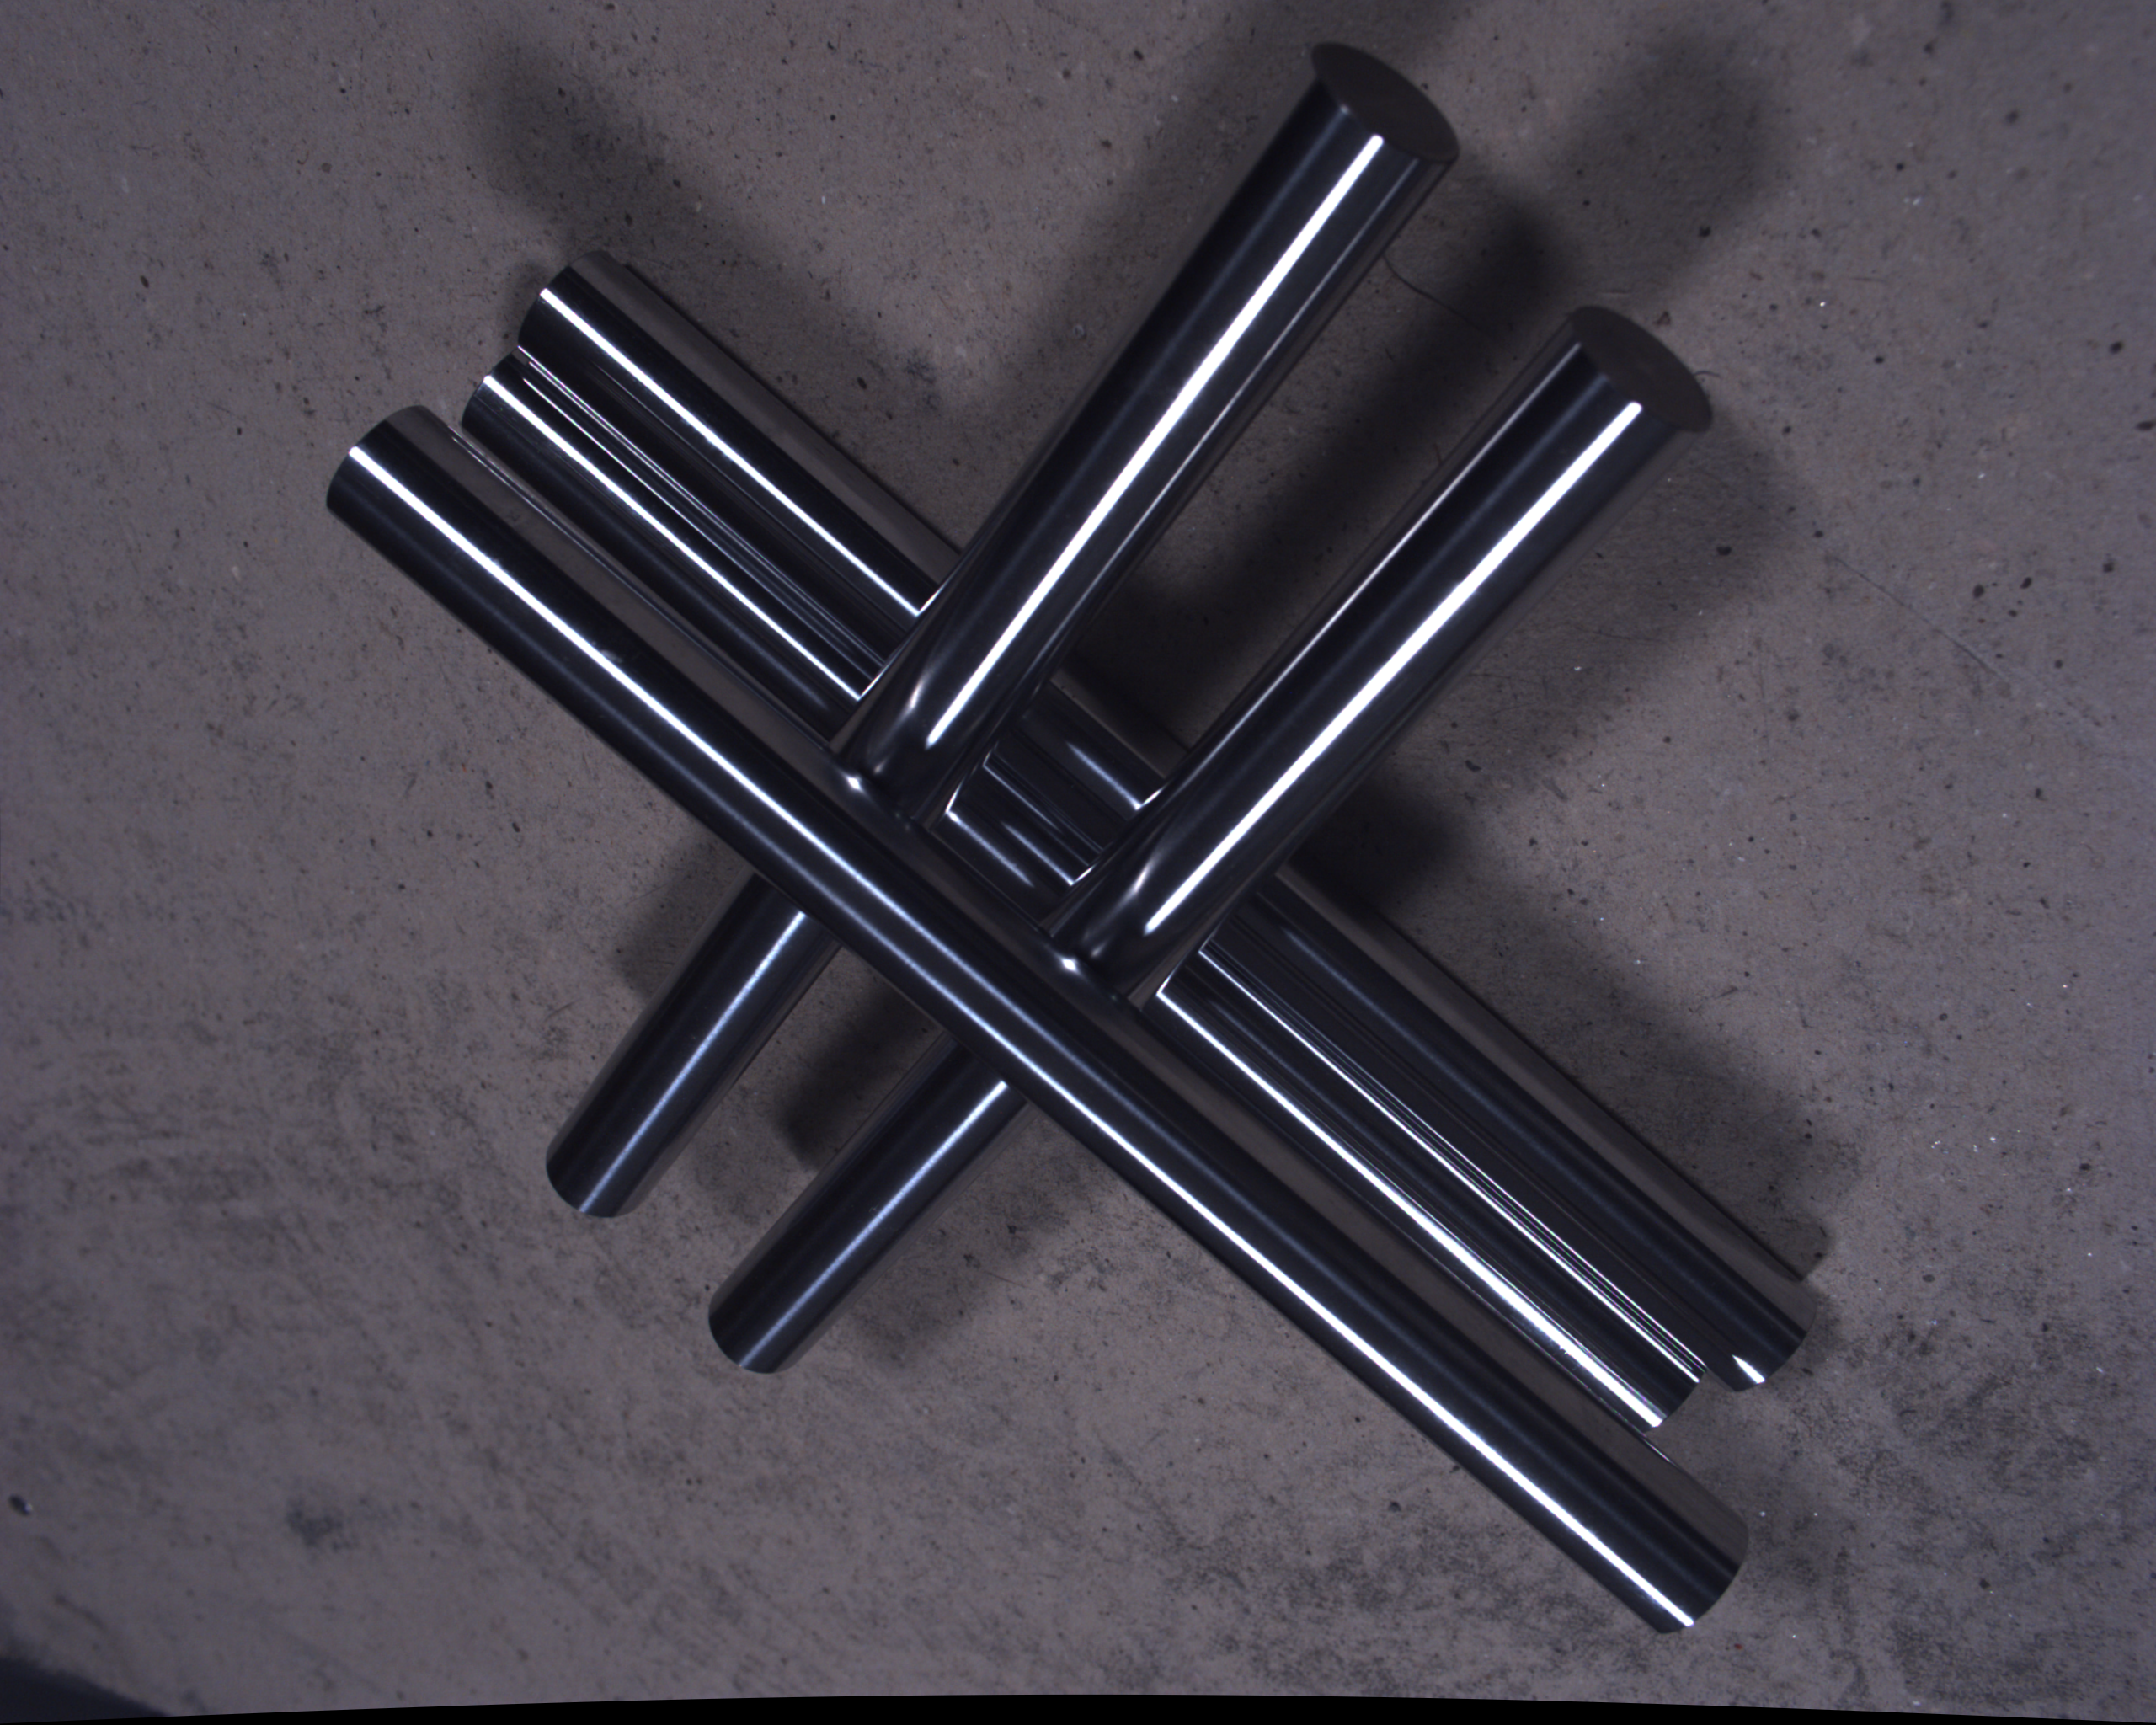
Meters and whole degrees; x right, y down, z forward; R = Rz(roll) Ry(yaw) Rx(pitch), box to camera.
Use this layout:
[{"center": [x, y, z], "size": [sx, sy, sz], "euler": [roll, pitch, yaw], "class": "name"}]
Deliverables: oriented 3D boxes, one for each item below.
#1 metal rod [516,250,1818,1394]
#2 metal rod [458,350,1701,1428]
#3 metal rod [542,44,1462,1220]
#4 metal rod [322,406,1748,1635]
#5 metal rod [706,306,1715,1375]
[{"center": [0.017, -0.007, 0.393], "size": [0.300, 0.025, 0.025], "euler": [41, 129, -1], "class": "metal rod"}, {"center": [0.002, 0.005, 0.409], "size": [0.300, 0.025, 0.025], "euler": [41, 129, -1], "class": "metal rod"}, {"center": [-0.034, -0.017, 0.381], "size": [0.025, 0.025, 0.298], "euler": [41, 129, 0], "class": "metal rod"}, {"center": [-0.007, 0.027, 0.363], "size": [0.300, 0.025, 0.025], "euler": [40, 129, 0], "class": "metal rod"}, {"center": [0.003, 0.019, 0.385], "size": [0.025, 0.025, 0.298], "euler": [41, 129, 0], "class": "metal rod"}]
